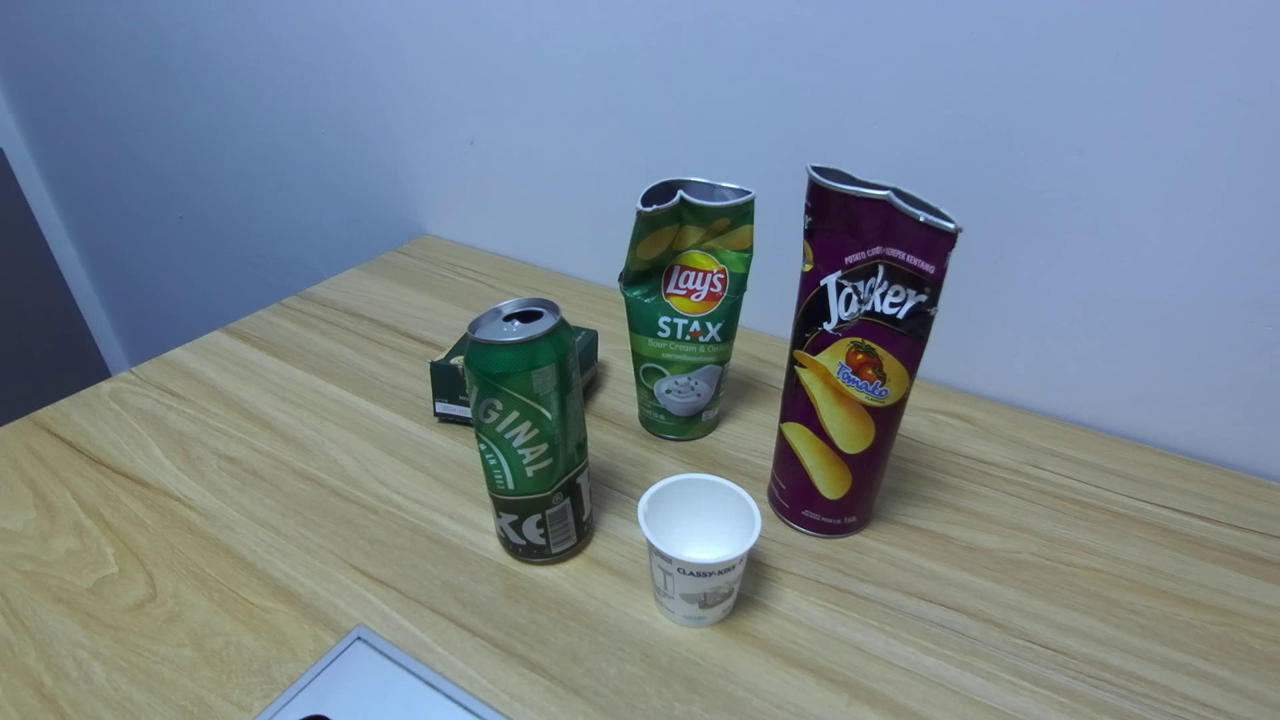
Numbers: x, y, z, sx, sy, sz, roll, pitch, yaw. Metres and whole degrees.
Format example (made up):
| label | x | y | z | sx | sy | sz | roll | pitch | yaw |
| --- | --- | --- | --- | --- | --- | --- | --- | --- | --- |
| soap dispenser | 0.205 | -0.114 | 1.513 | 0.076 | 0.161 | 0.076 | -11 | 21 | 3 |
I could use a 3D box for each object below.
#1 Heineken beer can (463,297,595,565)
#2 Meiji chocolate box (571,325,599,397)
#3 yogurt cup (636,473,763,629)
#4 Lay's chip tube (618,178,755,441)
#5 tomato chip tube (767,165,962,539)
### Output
| label | x | y | z | sx | sy | sz | roll | pitch | yaw |
| --- | --- | --- | --- | --- | --- | --- | --- | --- | --- |
| Heineken beer can | -0.068 | 0.048 | 0.446 | 0.068 | 0.168 | 0.069 | -13 | 31 | -15 |
| Meiji chocolate box | -0.105 | 0.009 | 0.617 | 0.122 | 0.058 | 0.116 | 11 | 34 | 16 |
| yogurt cup | 0.035 | 0.118 | 0.426 | 0.072 | 0.068 | 0.072 | 0 | 34 | 0 |
| Lay's chip tube | 0.033 | -0.036 | 0.538 | 0.077 | 0.201 | 0.069 | -21 | 39 | -26 |
| tomato chip tube | 0.130 | 0.004 | 0.448 | 0.078 | 0.236 | 0.090 | 6 | 36 | 11 |
